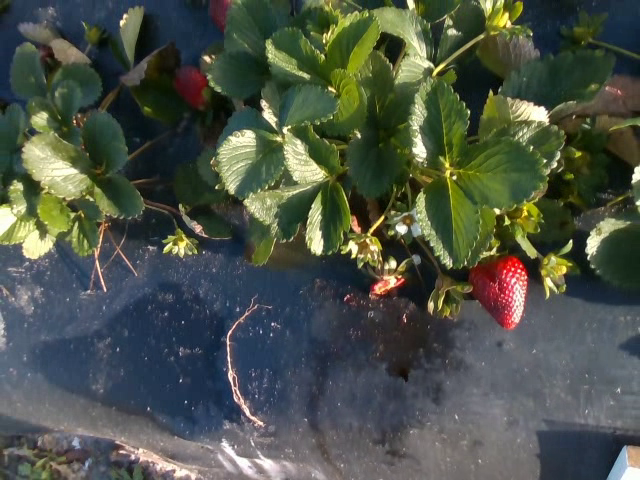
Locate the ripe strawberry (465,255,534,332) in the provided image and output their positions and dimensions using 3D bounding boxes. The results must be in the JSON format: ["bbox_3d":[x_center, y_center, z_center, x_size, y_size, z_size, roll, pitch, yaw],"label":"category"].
[{"bbox_3d":[0.137,0.044,0.452,0.052,0.052,0.041,-19,-28,29],"label":"ripe strawberry"}]
